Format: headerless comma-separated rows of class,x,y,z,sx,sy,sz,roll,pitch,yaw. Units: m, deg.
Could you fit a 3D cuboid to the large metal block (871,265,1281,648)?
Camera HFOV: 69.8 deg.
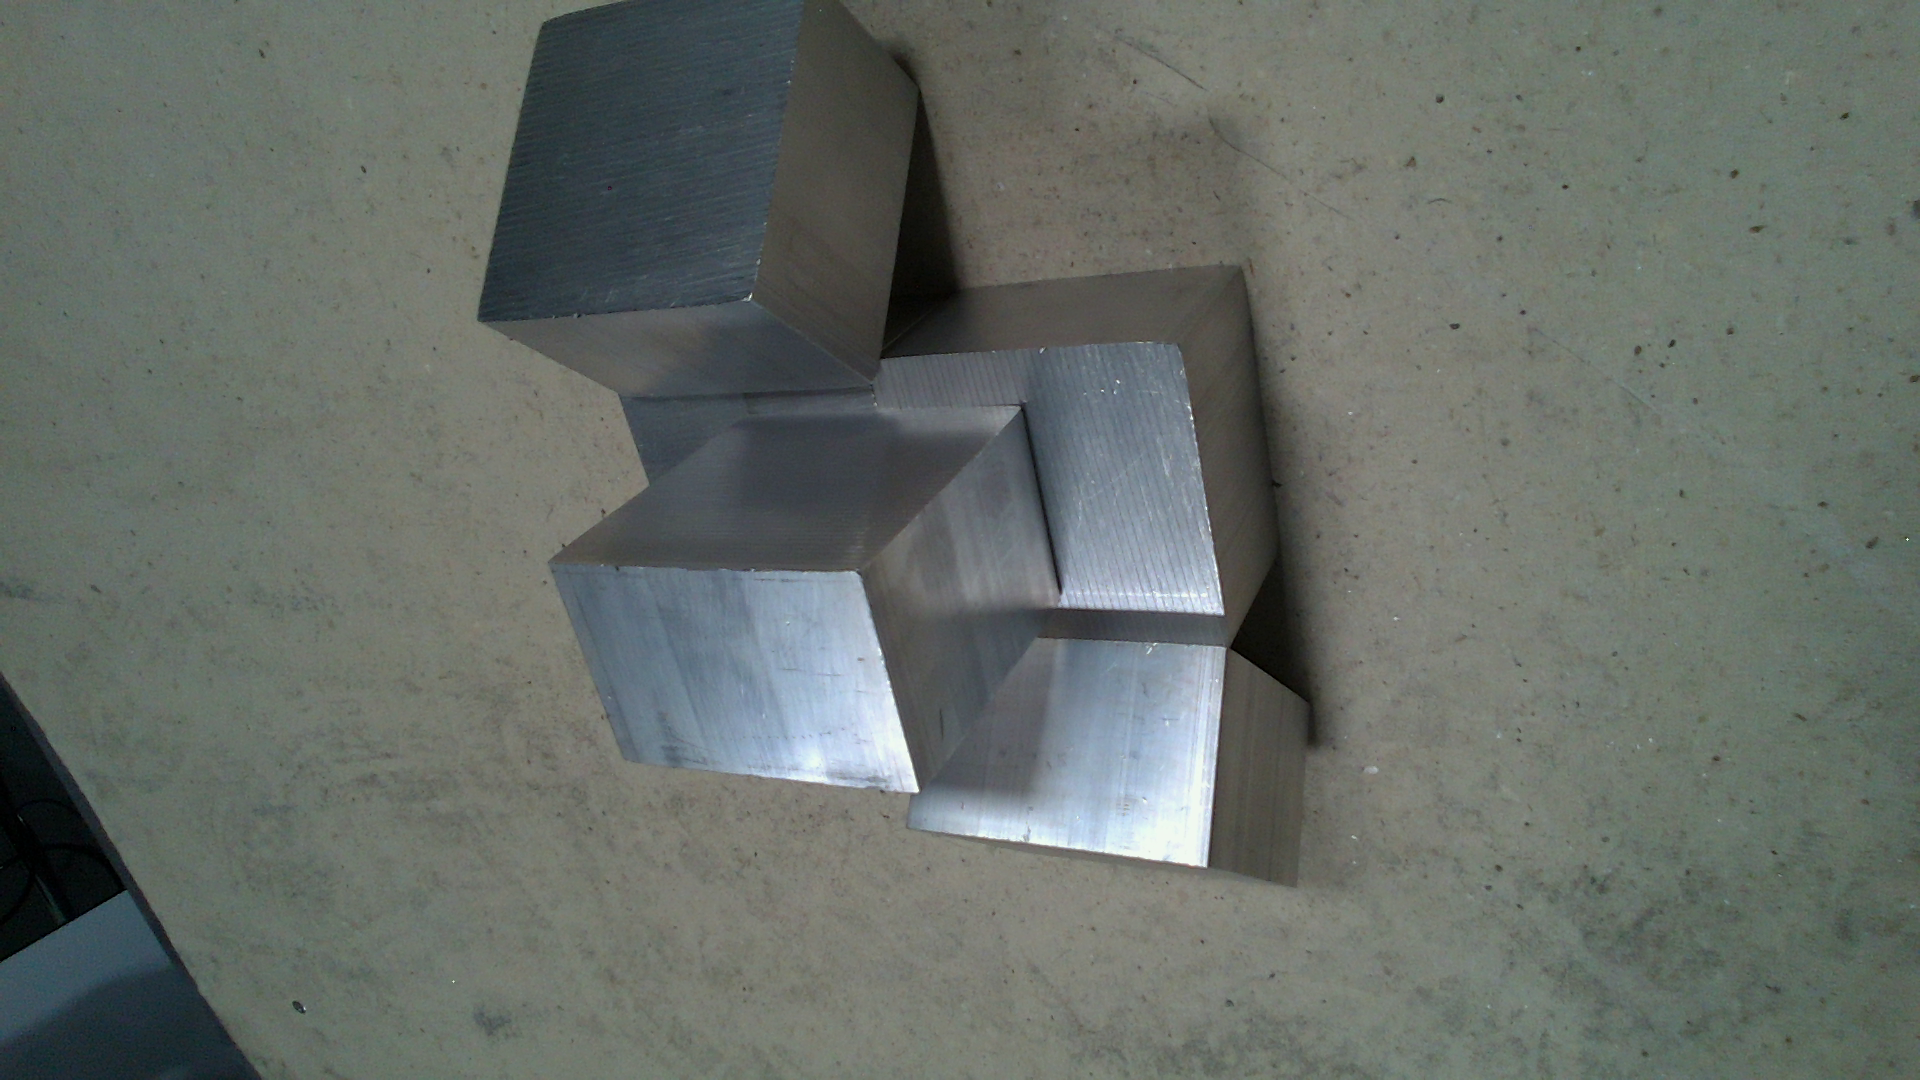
large metal block,0.031,-0.019,0.346,0.080,0.050,0.080,1,119,28

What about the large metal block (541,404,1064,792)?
large metal block,-0.032,0.009,0.316,0.080,0.080,0.050,1,119,28

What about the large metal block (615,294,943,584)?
large metal block,-0.040,-0.019,0.384,0.080,0.050,0.080,1,119,28

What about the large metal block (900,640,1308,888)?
large metal block,0.042,0.060,0.364,0.080,0.080,0.050,0,75,28

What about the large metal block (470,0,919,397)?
large metal block,-0.062,-0.082,0.333,0.080,0.050,0.080,1,75,29
